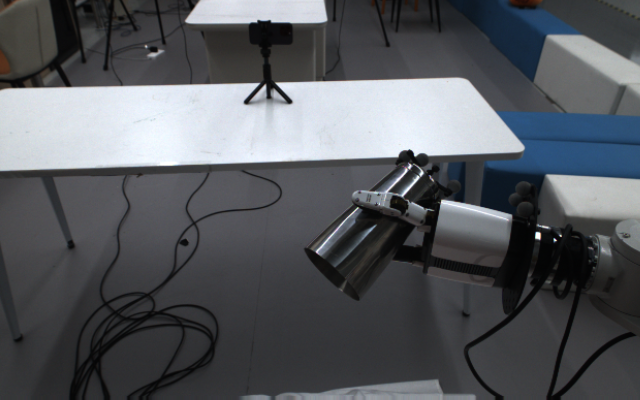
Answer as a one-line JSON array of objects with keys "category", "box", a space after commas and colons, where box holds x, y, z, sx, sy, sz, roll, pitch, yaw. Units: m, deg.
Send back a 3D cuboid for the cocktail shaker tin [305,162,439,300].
[{"category": "cocktail shaker tin", "box": [0.072, 0.028, 0.609, 0.170, 0.093, 0.093, -43, 50, -15]}]
